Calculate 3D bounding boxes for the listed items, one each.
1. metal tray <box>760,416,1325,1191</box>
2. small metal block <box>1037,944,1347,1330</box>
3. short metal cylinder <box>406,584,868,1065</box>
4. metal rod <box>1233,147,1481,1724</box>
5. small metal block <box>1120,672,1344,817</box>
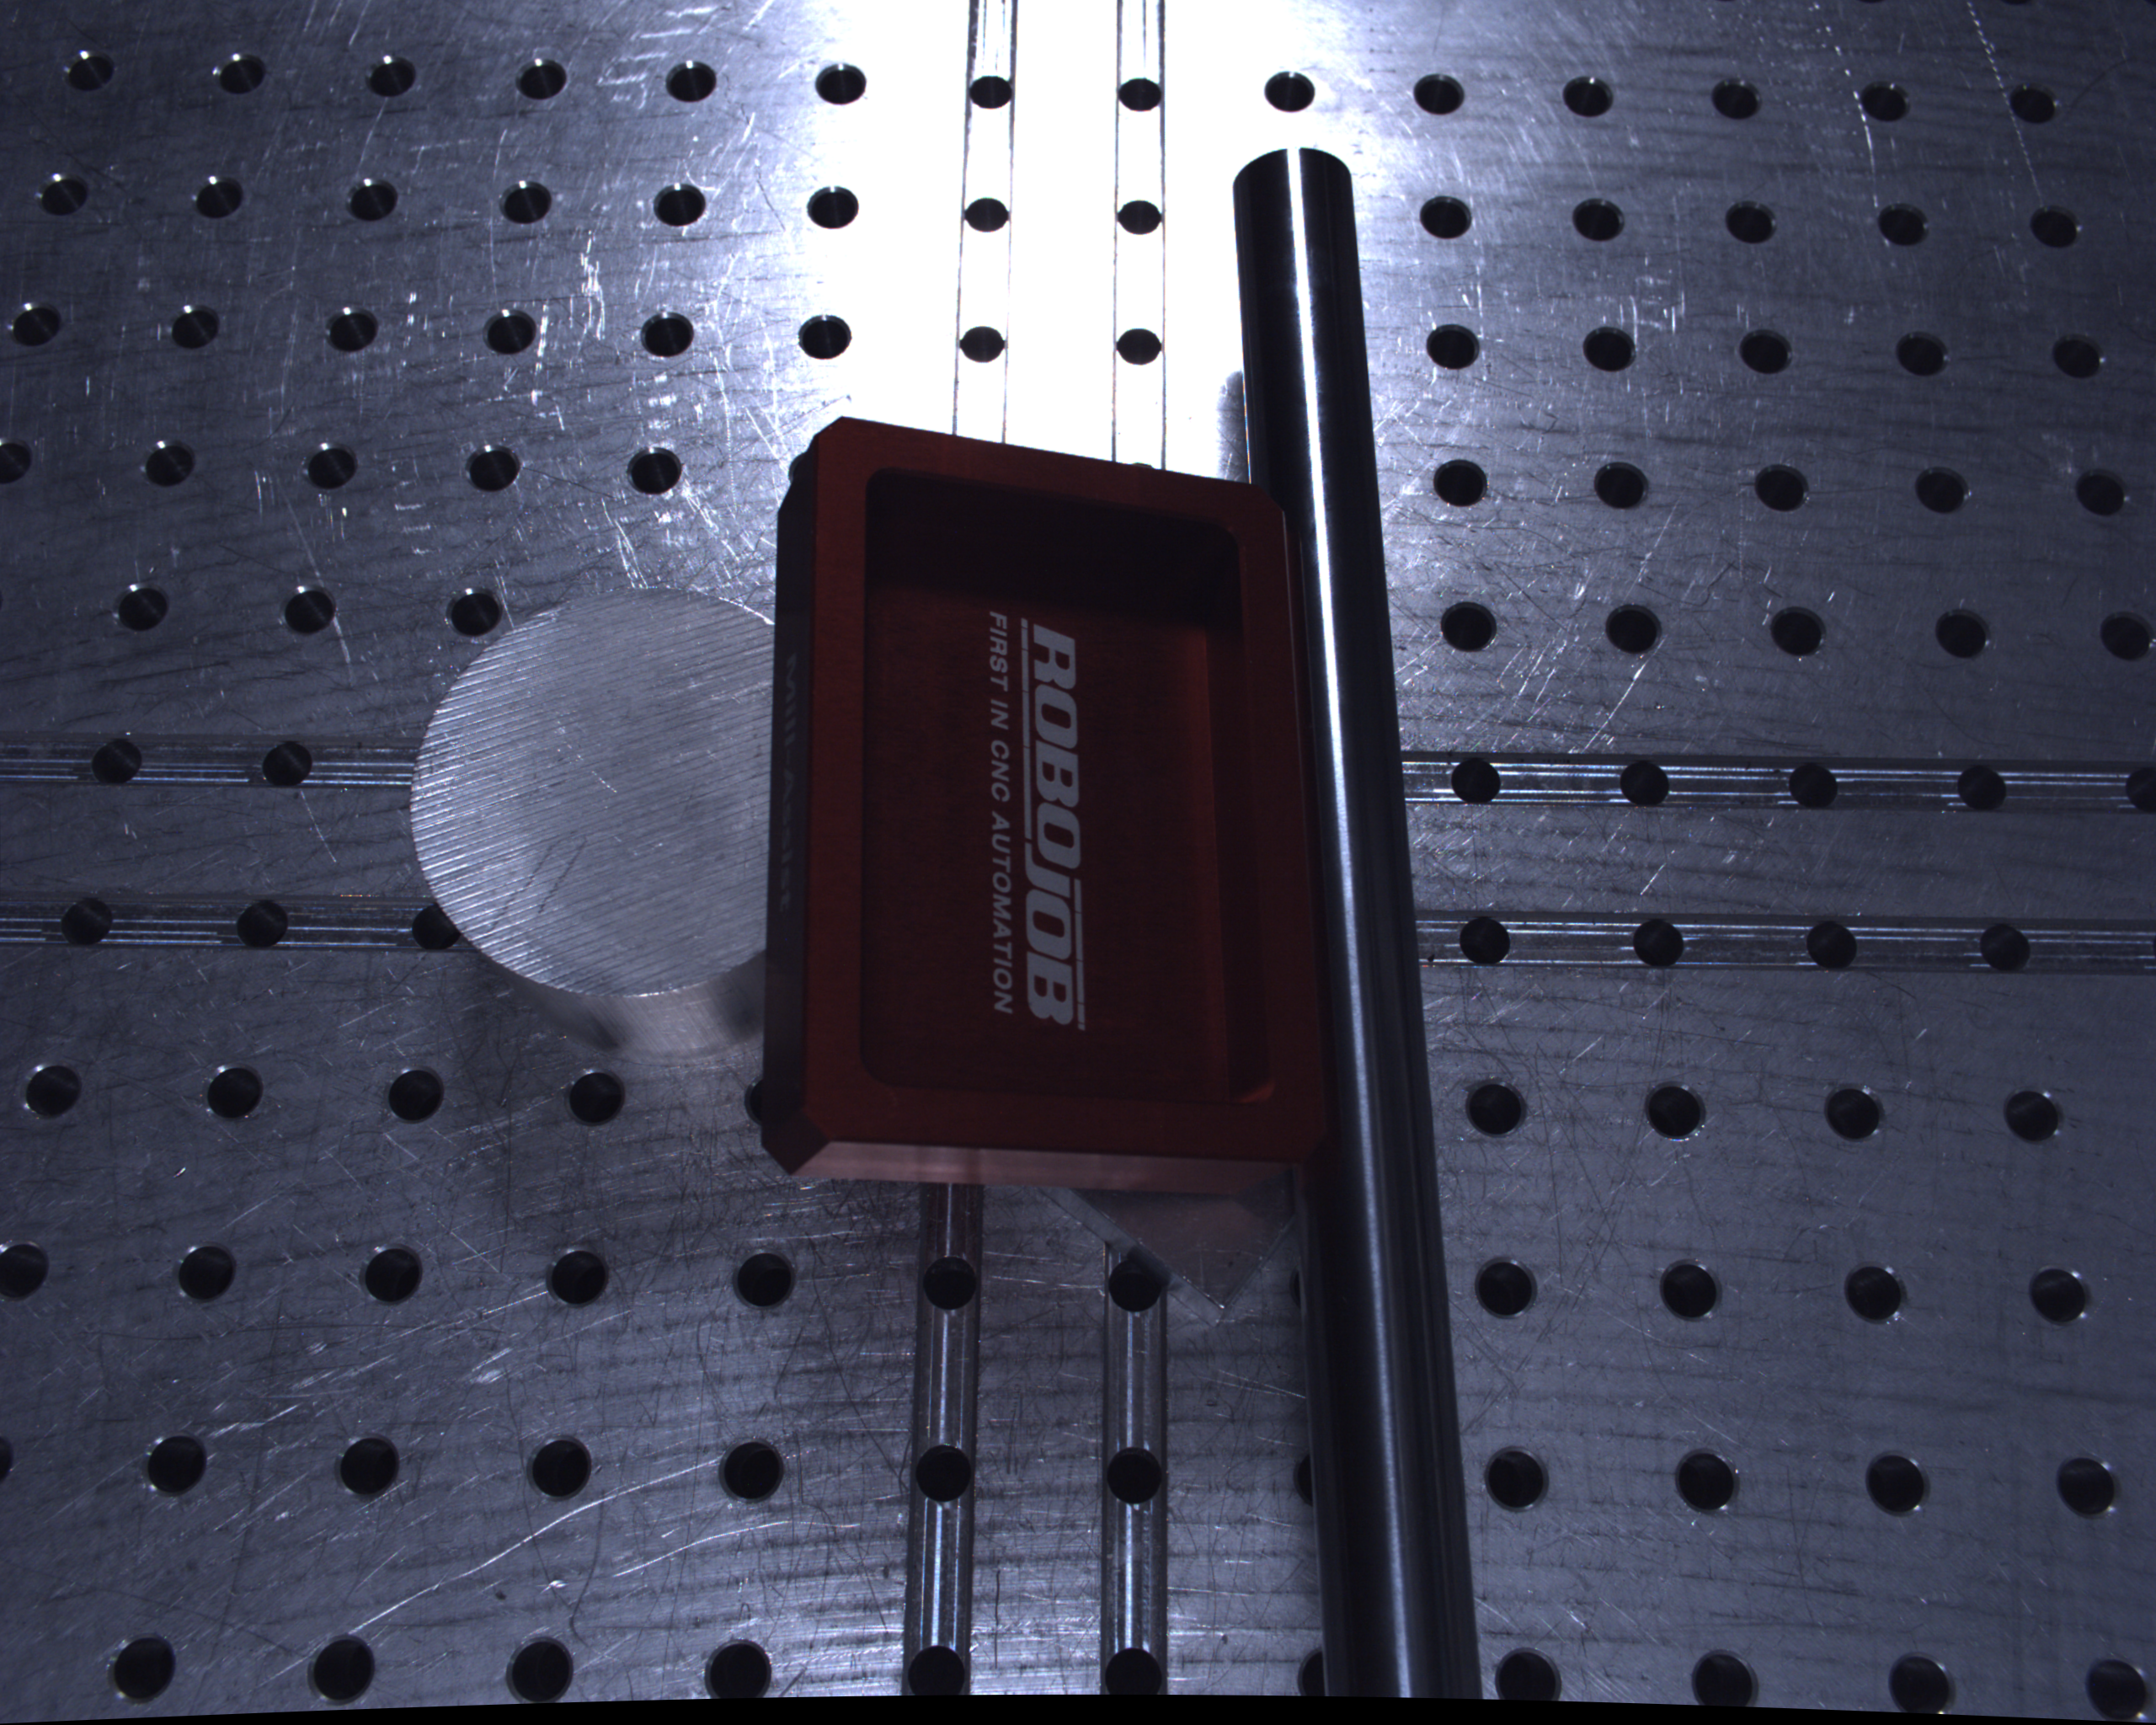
[{"bbox_3d":[-0.007,-0.010,0.370,0.091,0.030,0.130,6,69,-19],"label":"metal tray"},{"bbox_3d":[0.022,0.051,0.392,0.050,0.025,0.050,37,74,12],"label":"small metal block"},{"bbox_3d":[-0.081,-0.006,0.399,0.081,0.050,0.080,0,70,0],"label":"short metal cylinder"},{"bbox_3d":[0.048,-0.001,0.386,0.025,0.025,0.299,-1,70,-1],"label":"metal rod"},{"bbox_3d":[0.032,-0.031,0.424,0.050,0.025,0.050,-14,71,-6],"label":"small metal block"}]
